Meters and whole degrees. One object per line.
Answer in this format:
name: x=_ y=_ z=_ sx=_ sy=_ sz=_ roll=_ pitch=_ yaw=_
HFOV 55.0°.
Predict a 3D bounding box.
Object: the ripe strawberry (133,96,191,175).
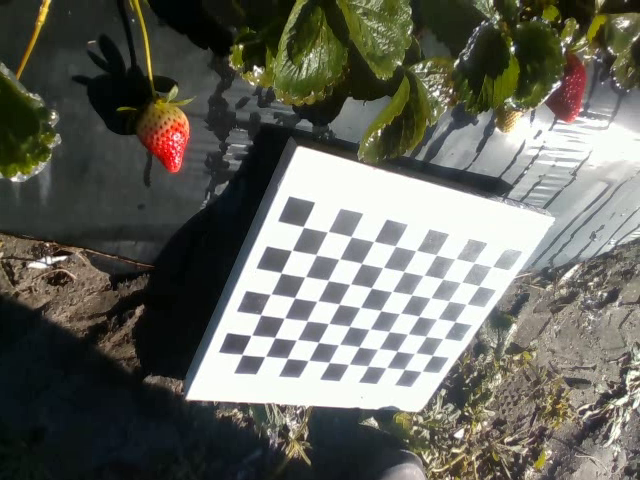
ripe strawberry: x=-0.102 y=-0.068 z=0.407 sx=0.039 sy=0.053 sz=0.041 roll=-8 pitch=20 yaw=-17
